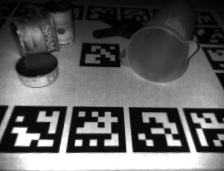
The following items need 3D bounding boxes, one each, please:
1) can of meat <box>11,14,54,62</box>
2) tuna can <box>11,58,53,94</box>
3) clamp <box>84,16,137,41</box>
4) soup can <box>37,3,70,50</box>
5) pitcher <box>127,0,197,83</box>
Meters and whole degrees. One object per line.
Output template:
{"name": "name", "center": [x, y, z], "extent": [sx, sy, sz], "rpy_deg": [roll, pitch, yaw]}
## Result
{"name": "can of meat", "center": [-0.196, -0.107, 0.516], "extent": [0.084, 0.102, 0.057], "rpy_deg": [-30, 57, -23]}
{"name": "tuna can", "center": [-0.178, -0.023, 0.489], "extent": [0.086, 0.034, 0.085], "rpy_deg": [3, 49, -2]}
{"name": "clamp", "center": [0.003, -0.165, 0.649], "extent": [0.165, 0.037, 0.121], "rpy_deg": [5, 43, -5]}
{"name": "soup can", "center": [-0.151, -0.153, 0.569], "extent": [0.068, 0.102, 0.067], "rpy_deg": [1, 49, 0]}
{"name": "pitcher", "center": [0.120, -0.124, 0.537], "extent": [0.186, 0.134, 0.243], "rpy_deg": [0, 35, 27]}
